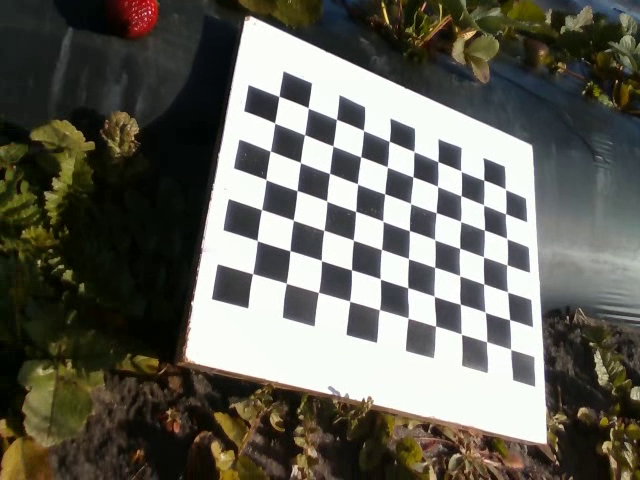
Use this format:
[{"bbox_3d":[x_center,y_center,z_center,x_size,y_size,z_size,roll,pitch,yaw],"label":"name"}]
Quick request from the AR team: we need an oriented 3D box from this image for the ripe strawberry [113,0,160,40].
[{"bbox_3d":[-0.121,-0.149,0.452,0.040,0.044,0.037,-2,-33,-30],"label":"ripe strawberry"}]
